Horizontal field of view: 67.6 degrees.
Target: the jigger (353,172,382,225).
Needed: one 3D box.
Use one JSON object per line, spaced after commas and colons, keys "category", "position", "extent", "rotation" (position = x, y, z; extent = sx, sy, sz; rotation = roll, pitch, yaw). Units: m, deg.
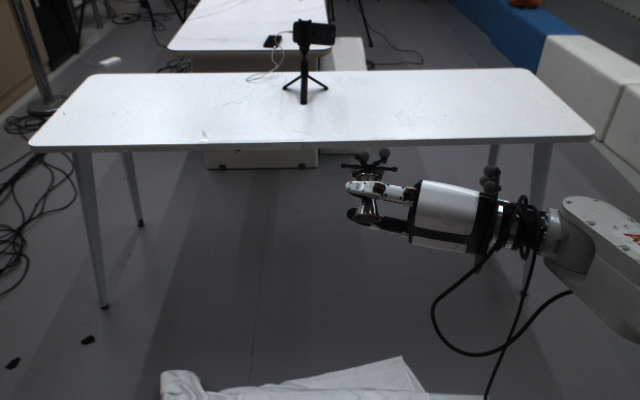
{"category": "jigger", "position": [0.072, -0.004, 0.748], "extent": [0.043, 0.043, 0.071], "rotation": [3, 71, 2]}
